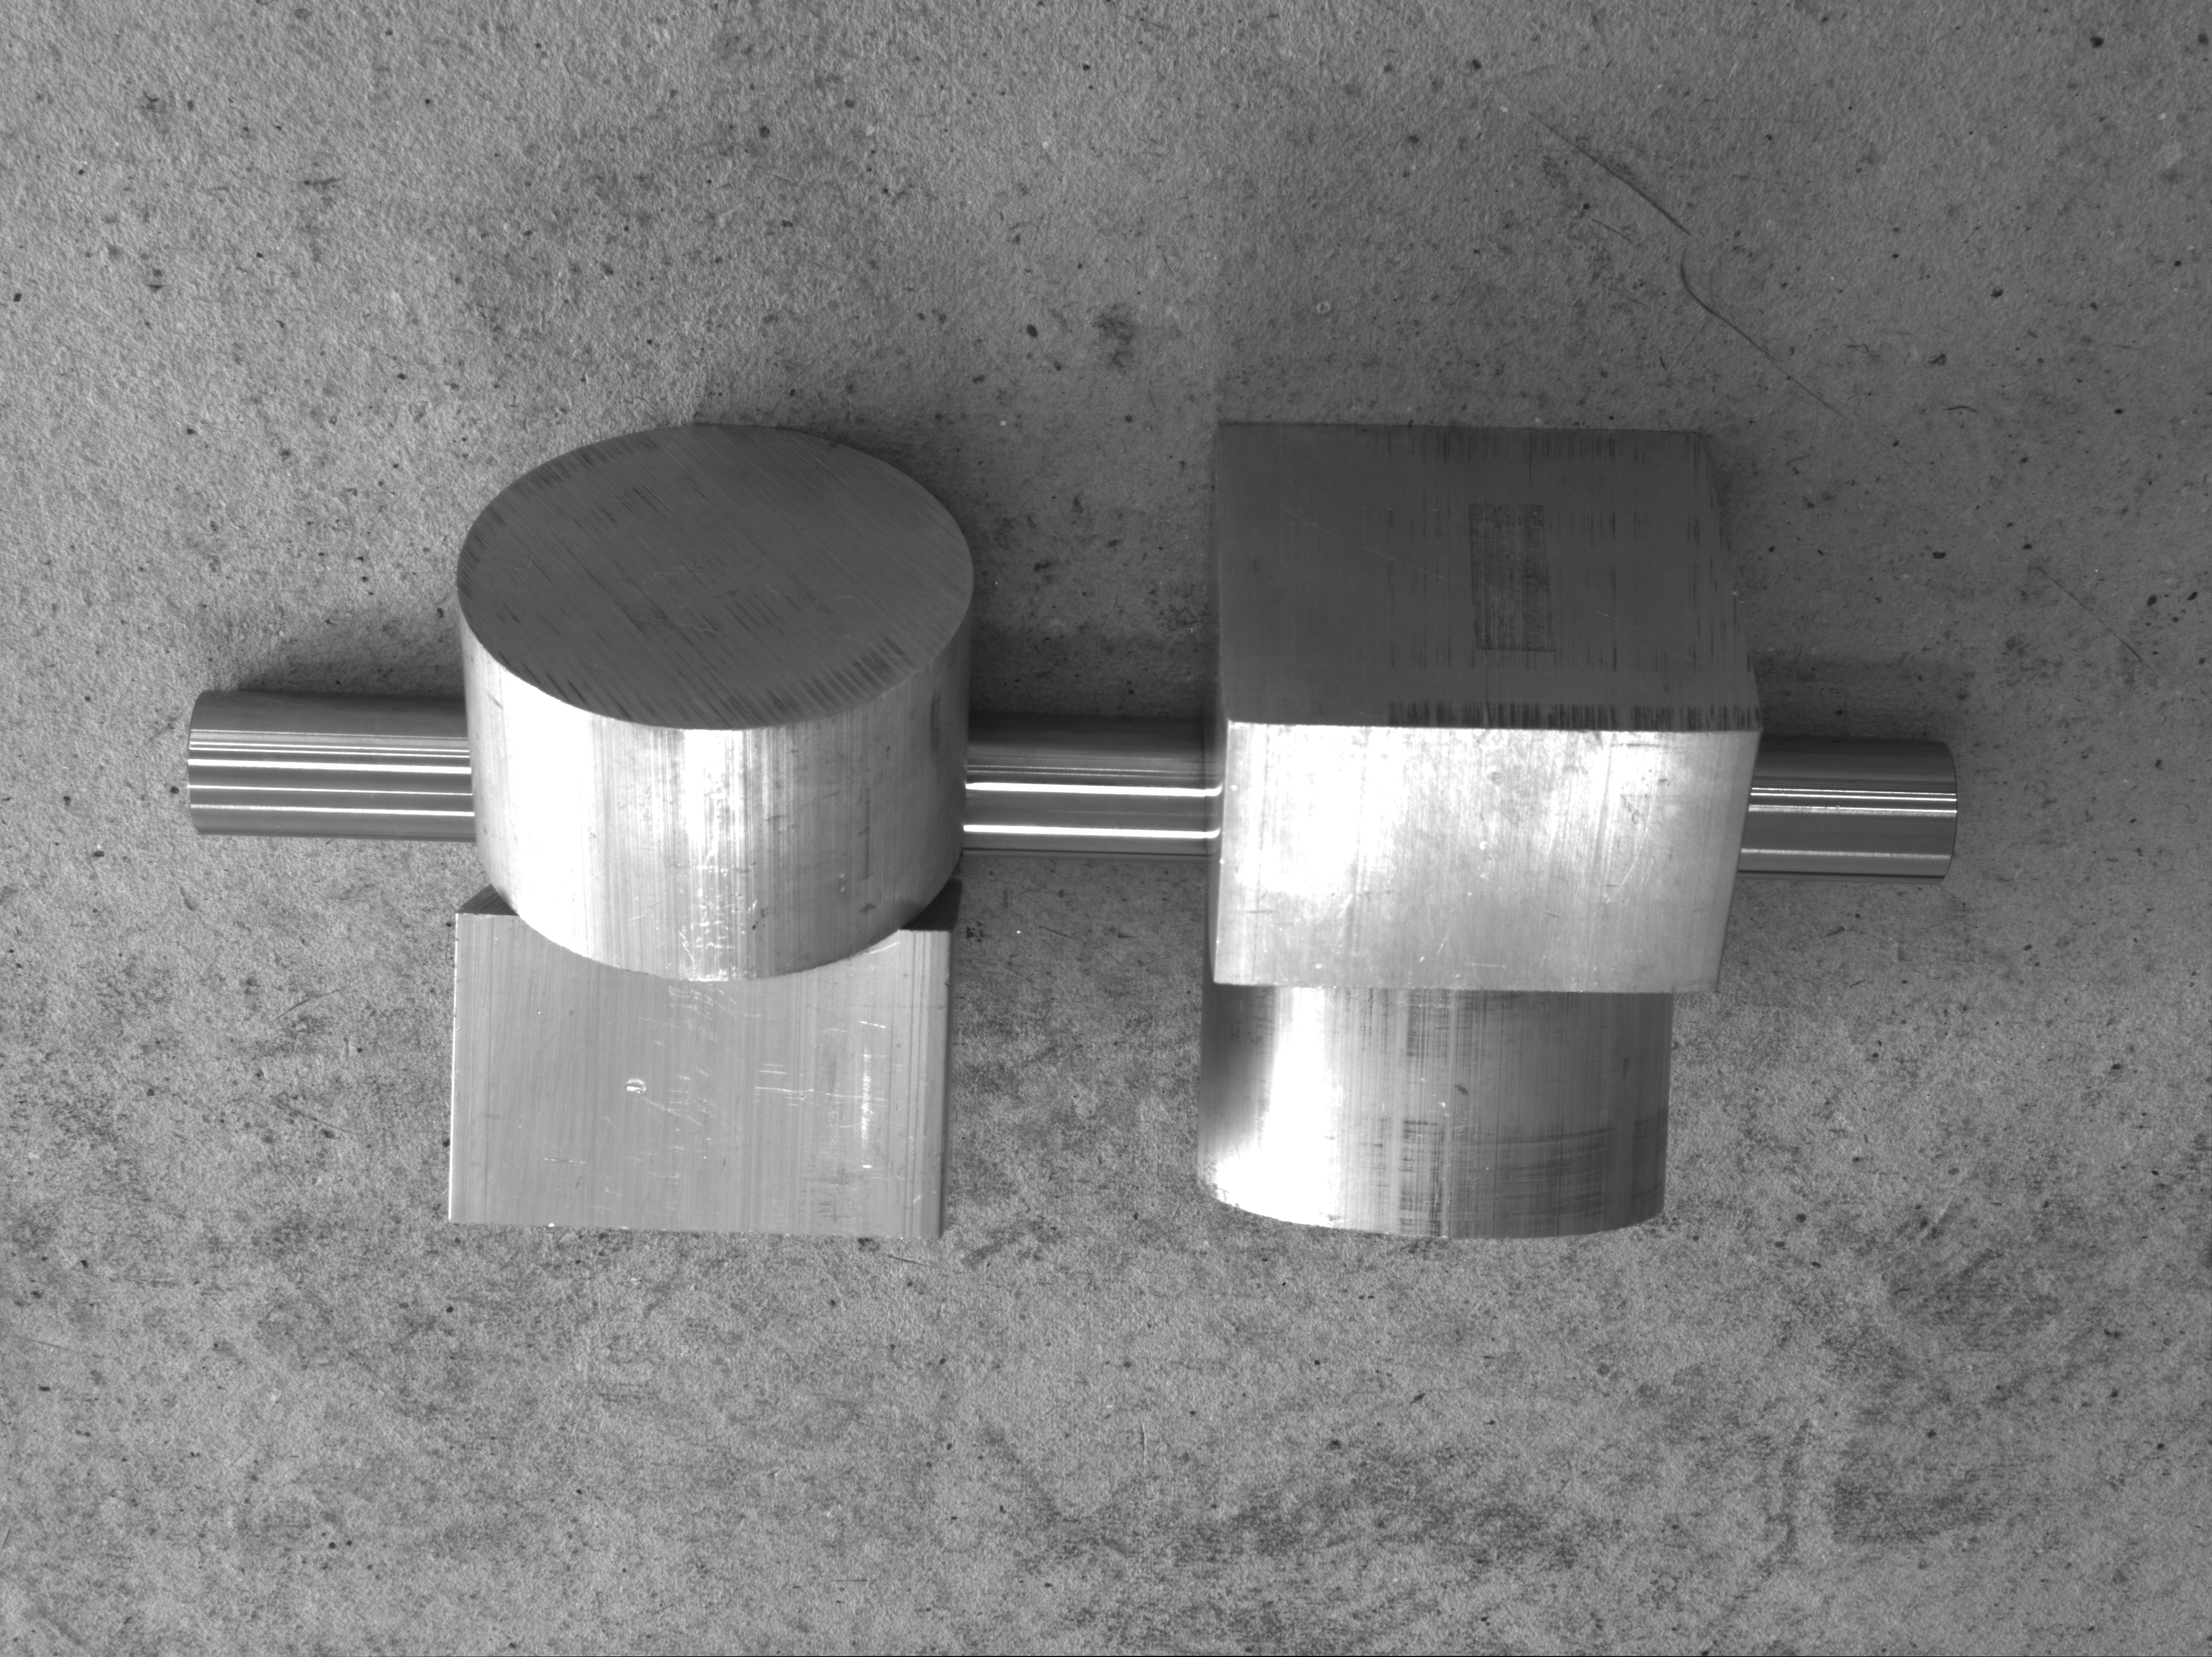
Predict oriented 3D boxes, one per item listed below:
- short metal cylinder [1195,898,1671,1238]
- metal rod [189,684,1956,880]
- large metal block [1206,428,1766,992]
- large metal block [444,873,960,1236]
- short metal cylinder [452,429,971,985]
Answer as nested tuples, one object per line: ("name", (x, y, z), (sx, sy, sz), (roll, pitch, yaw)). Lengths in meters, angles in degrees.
("short metal cylinder", (0.056, 0.037, 0.627), (0.080, 0.080, 0.050), (1, 95, -1))
("metal rod", (-0.005, -0.008, 0.636), (0.300, 0.025, 0.025), (2, 130, -2))
("large metal block", (0.057, -0.020, 0.587), (0.080, 0.080, 0.050), (1, 130, -1))
("large metal block", (-0.066, 0.035, 0.626), (0.080, 0.080, 0.050), (2, 96, -2))
("short metal cylinder", (-0.062, -0.021, 0.586), (0.080, 0.080, 0.050), (3, 130, -2))
